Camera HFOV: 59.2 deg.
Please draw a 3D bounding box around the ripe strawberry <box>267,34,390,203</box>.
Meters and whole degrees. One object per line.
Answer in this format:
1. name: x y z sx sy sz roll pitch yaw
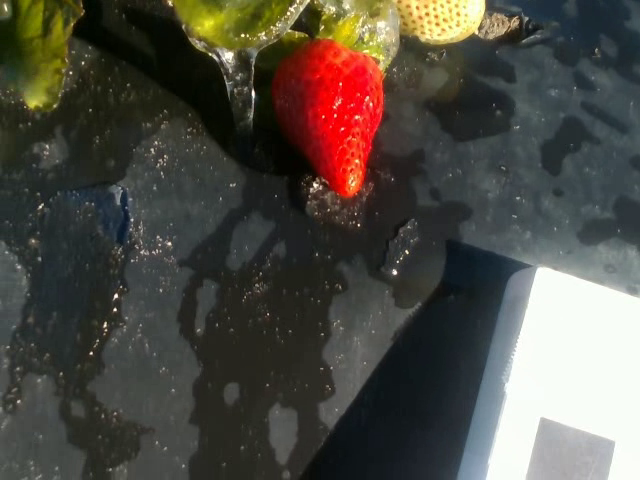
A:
1. ripe strawberry: 0.007 -0.038 0.166 0.041 0.052 0.040 1 -17 -7
